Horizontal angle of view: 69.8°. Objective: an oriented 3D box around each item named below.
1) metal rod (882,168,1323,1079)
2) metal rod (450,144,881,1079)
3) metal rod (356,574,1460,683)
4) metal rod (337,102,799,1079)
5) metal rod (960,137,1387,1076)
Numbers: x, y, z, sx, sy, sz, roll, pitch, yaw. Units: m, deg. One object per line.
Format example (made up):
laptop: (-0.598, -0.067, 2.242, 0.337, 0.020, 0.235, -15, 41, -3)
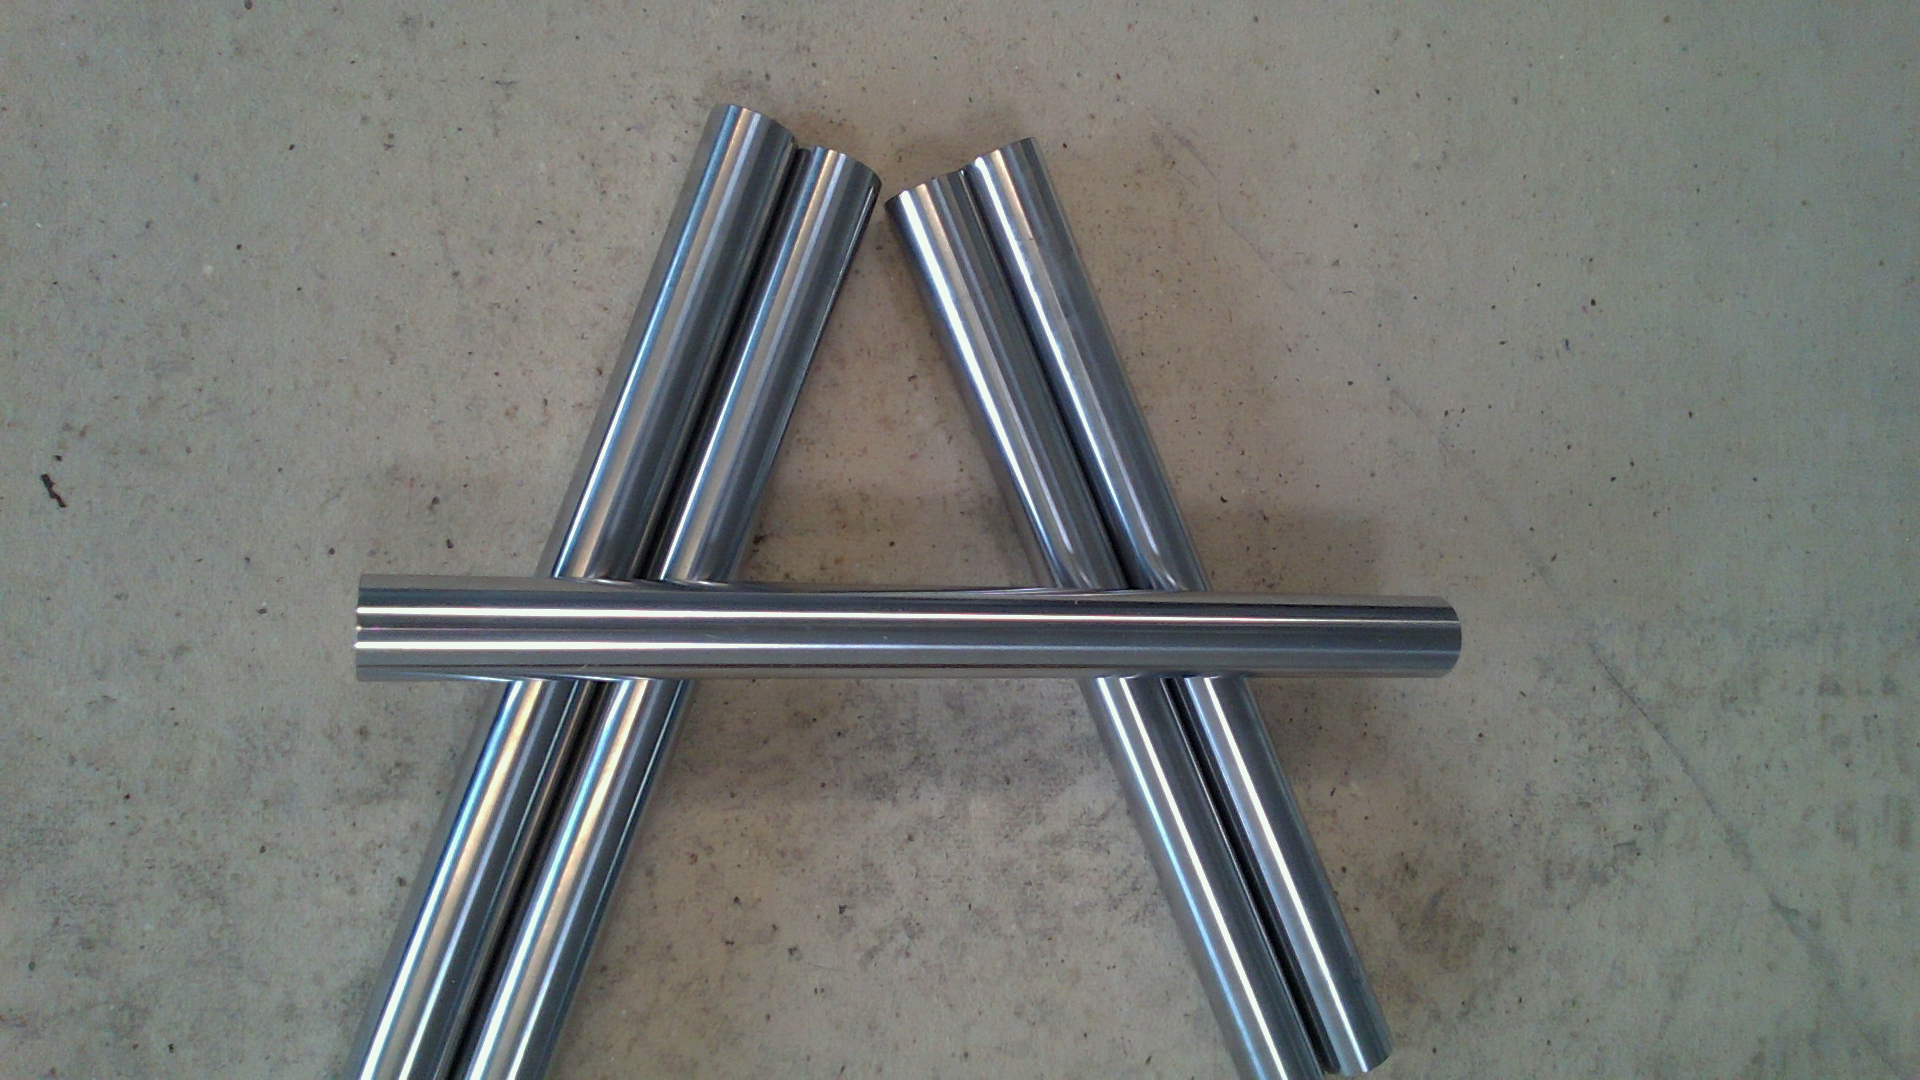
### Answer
metal rod: (0.046, 0.037, 0.411, 0.025, 0.025, 0.300, -25, 98, -18)
metal rod: (-0.082, 0.038, 0.363, 0.025, 0.025, 0.300, 21, 83, -19)
metal rod: (0.003, 0.025, 0.368, 0.301, 0.025, 0.025, 2, 90, -20)
metal rod: (-0.104, 0.029, 0.355, 0.025, 0.025, 0.300, 22, 83, -19)
metal rod: (0.067, 0.026, 0.419, 0.025, 0.025, 0.300, -25, 98, -18)
